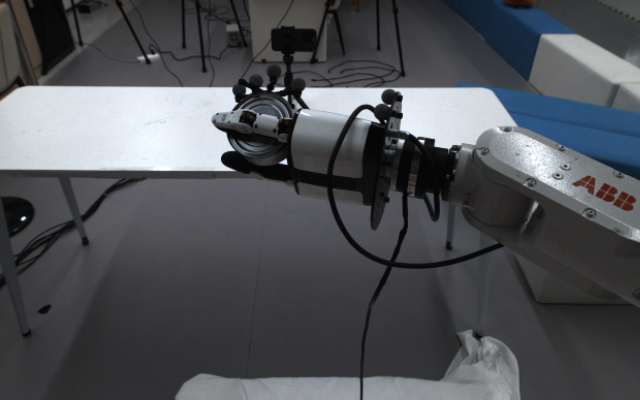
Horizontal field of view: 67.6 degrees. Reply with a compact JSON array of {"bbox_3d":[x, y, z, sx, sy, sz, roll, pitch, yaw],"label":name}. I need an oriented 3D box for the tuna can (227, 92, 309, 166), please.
[{"bbox_3d":[-0.068,-0.087,0.592,0.085,0.034,0.085,-5,70,14],"label":"tuna can"}]
